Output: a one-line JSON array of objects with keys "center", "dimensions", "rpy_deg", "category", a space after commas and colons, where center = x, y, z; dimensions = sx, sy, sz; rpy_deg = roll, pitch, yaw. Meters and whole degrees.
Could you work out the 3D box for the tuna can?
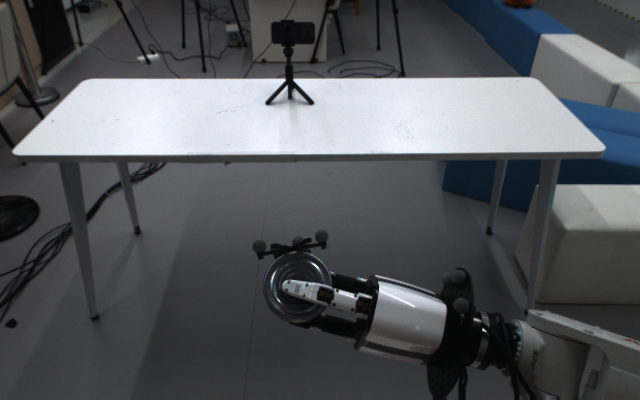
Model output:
[{"center": [-0.023, 0.113, 0.593], "dimensions": [0.085, 0.034, 0.085], "rpy_deg": [0, 72, -1], "category": "tuna can"}]
